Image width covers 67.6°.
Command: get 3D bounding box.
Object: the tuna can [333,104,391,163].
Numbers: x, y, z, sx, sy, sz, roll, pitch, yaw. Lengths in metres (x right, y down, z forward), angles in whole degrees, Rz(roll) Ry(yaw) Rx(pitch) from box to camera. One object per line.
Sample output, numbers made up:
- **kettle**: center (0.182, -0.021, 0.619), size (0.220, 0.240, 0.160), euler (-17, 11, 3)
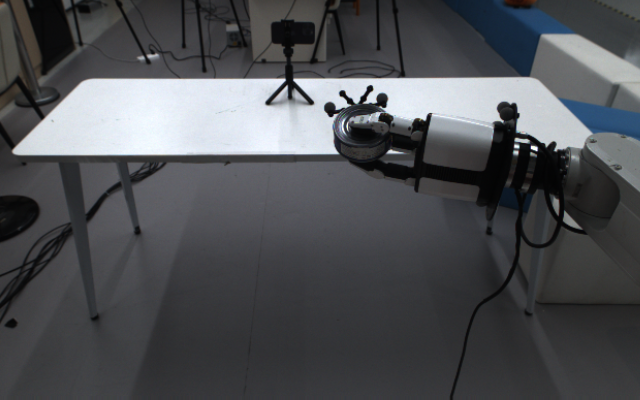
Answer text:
- **tuna can**: center (0.066, -0.092, 0.695), size (0.085, 0.034, 0.085), euler (-3, 59, 5)
